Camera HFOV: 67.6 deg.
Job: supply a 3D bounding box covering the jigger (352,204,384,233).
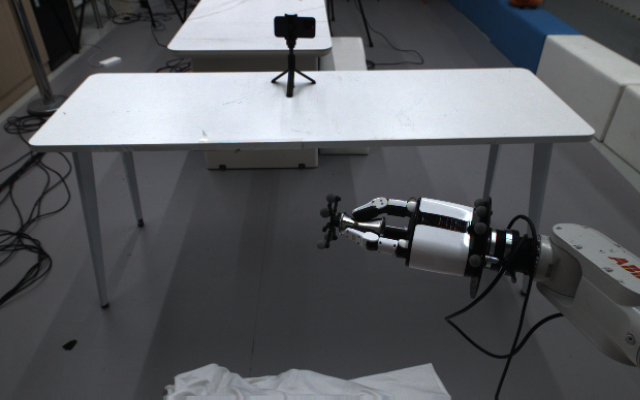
[{"bbox_3d":[0.074,0.040,0.785,0.071,0.043,0.043,9,35,17],"label":"jigger"}]
